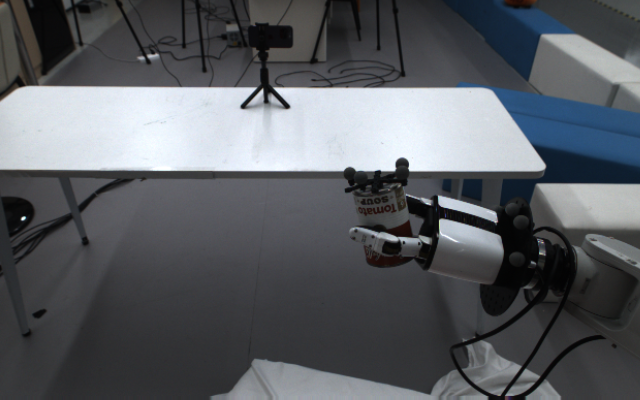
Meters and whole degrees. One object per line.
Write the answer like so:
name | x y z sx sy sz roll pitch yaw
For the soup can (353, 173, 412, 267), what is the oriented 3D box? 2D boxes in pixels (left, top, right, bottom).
soup can | 0.086 0.027 0.631 0.067 0.101 0.067 -12 17 4
